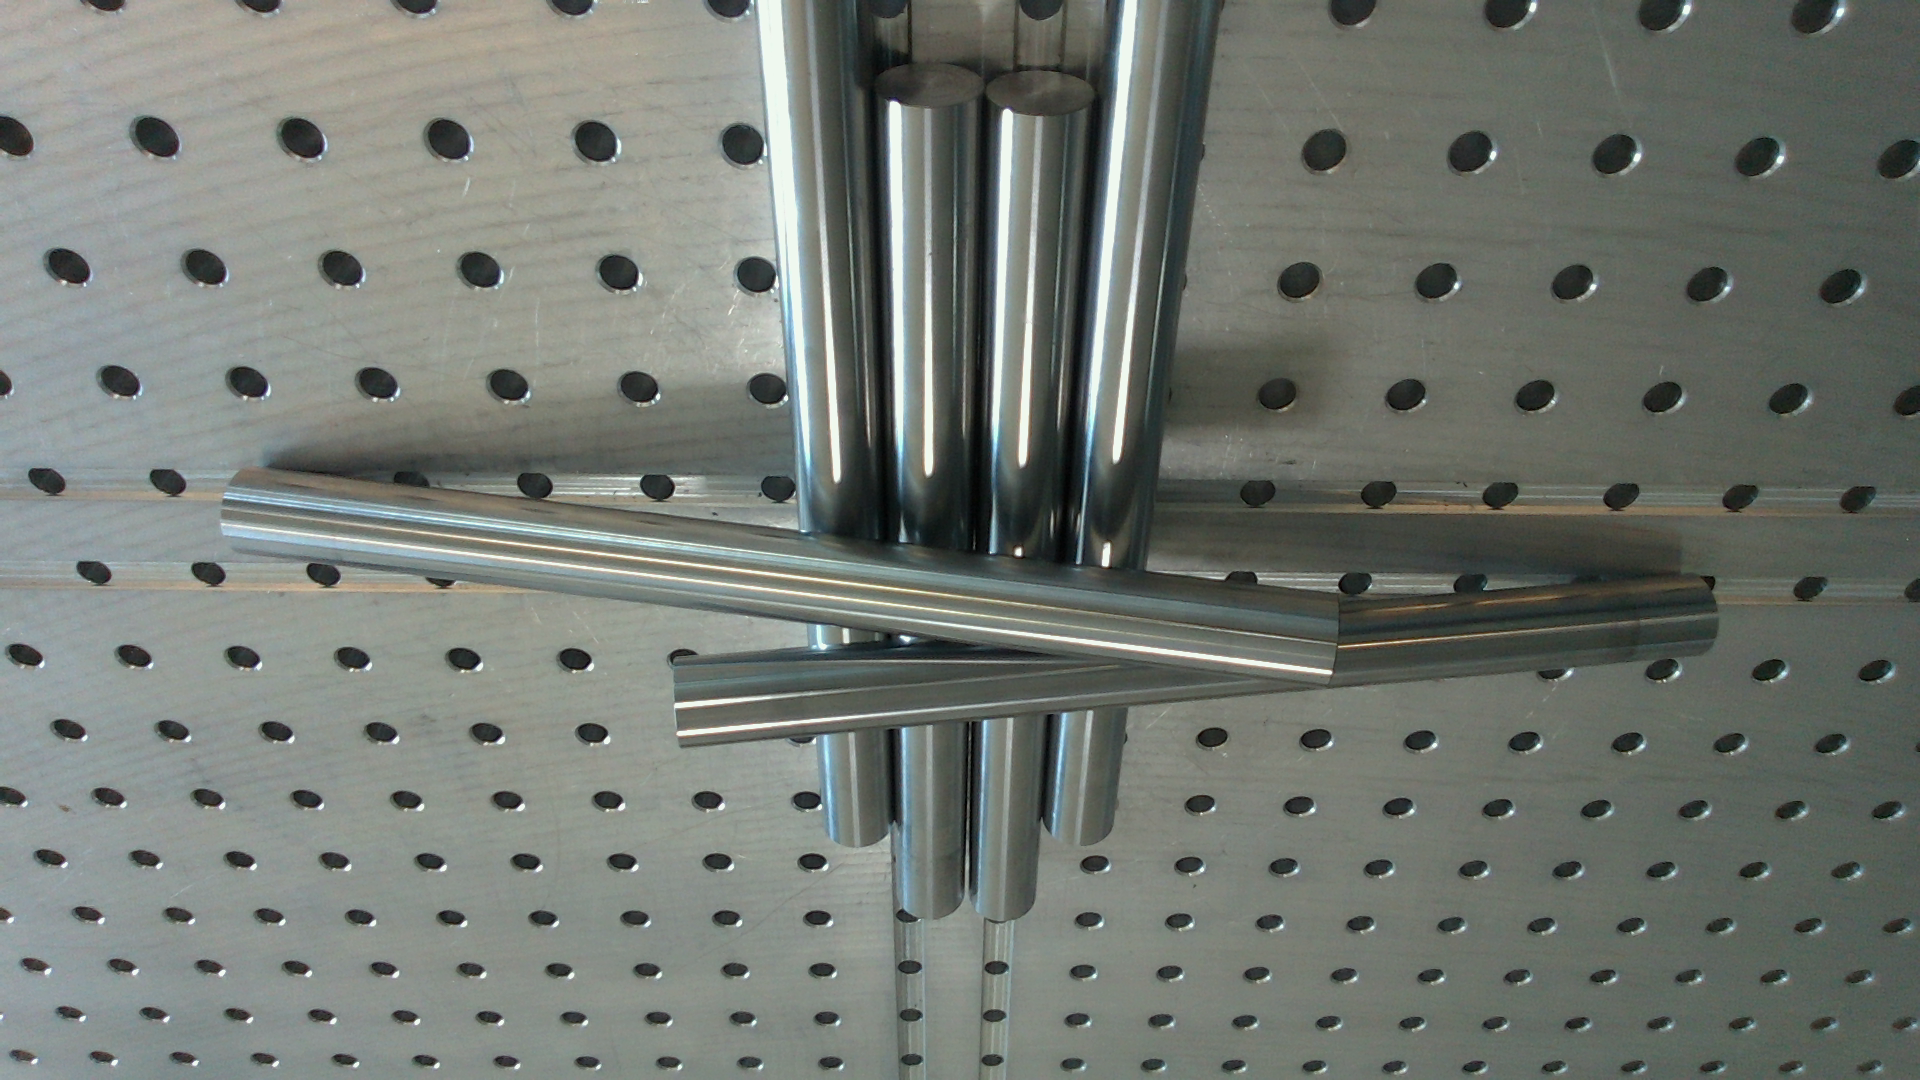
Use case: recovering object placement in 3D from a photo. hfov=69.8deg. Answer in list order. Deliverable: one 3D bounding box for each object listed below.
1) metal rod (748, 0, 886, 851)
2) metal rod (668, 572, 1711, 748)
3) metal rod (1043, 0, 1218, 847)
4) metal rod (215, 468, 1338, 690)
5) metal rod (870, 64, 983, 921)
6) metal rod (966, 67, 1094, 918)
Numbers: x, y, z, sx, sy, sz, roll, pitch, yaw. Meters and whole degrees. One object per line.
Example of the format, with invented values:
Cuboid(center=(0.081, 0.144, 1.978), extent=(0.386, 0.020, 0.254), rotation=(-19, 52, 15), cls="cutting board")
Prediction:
Cuboid(center=(-0.034, -0.018, 0.377), extent=(0.025, 0.025, 0.300), rotation=(0, 130, 0), cls="metal rod")
Cuboid(center=(0.070, 0.033, 0.395), extent=(0.300, 0.025, 0.025), rotation=(-4, 131, -8), cls="metal rod")
Cuboid(center=(0.041, -0.019, 0.377), extent=(0.025, 0.025, 0.300), rotation=(0, 130, 0), cls="metal rod")
Cuboid(center=(-0.053, 0.009, 0.371), extent=(0.300, 0.025, 0.025), rotation=(7, 130, 6), cls="metal rod")
Cuboid(center=(-0.010, 0.013, 0.403), extent=(0.025, 0.025, 0.300), rotation=(1, 130, -1), cls="metal rod")
Cuboid(center=(0.016, 0.013, 0.406), extent=(0.025, 0.025, 0.300), rotation=(0, 130, 0), cls="metal rod")
